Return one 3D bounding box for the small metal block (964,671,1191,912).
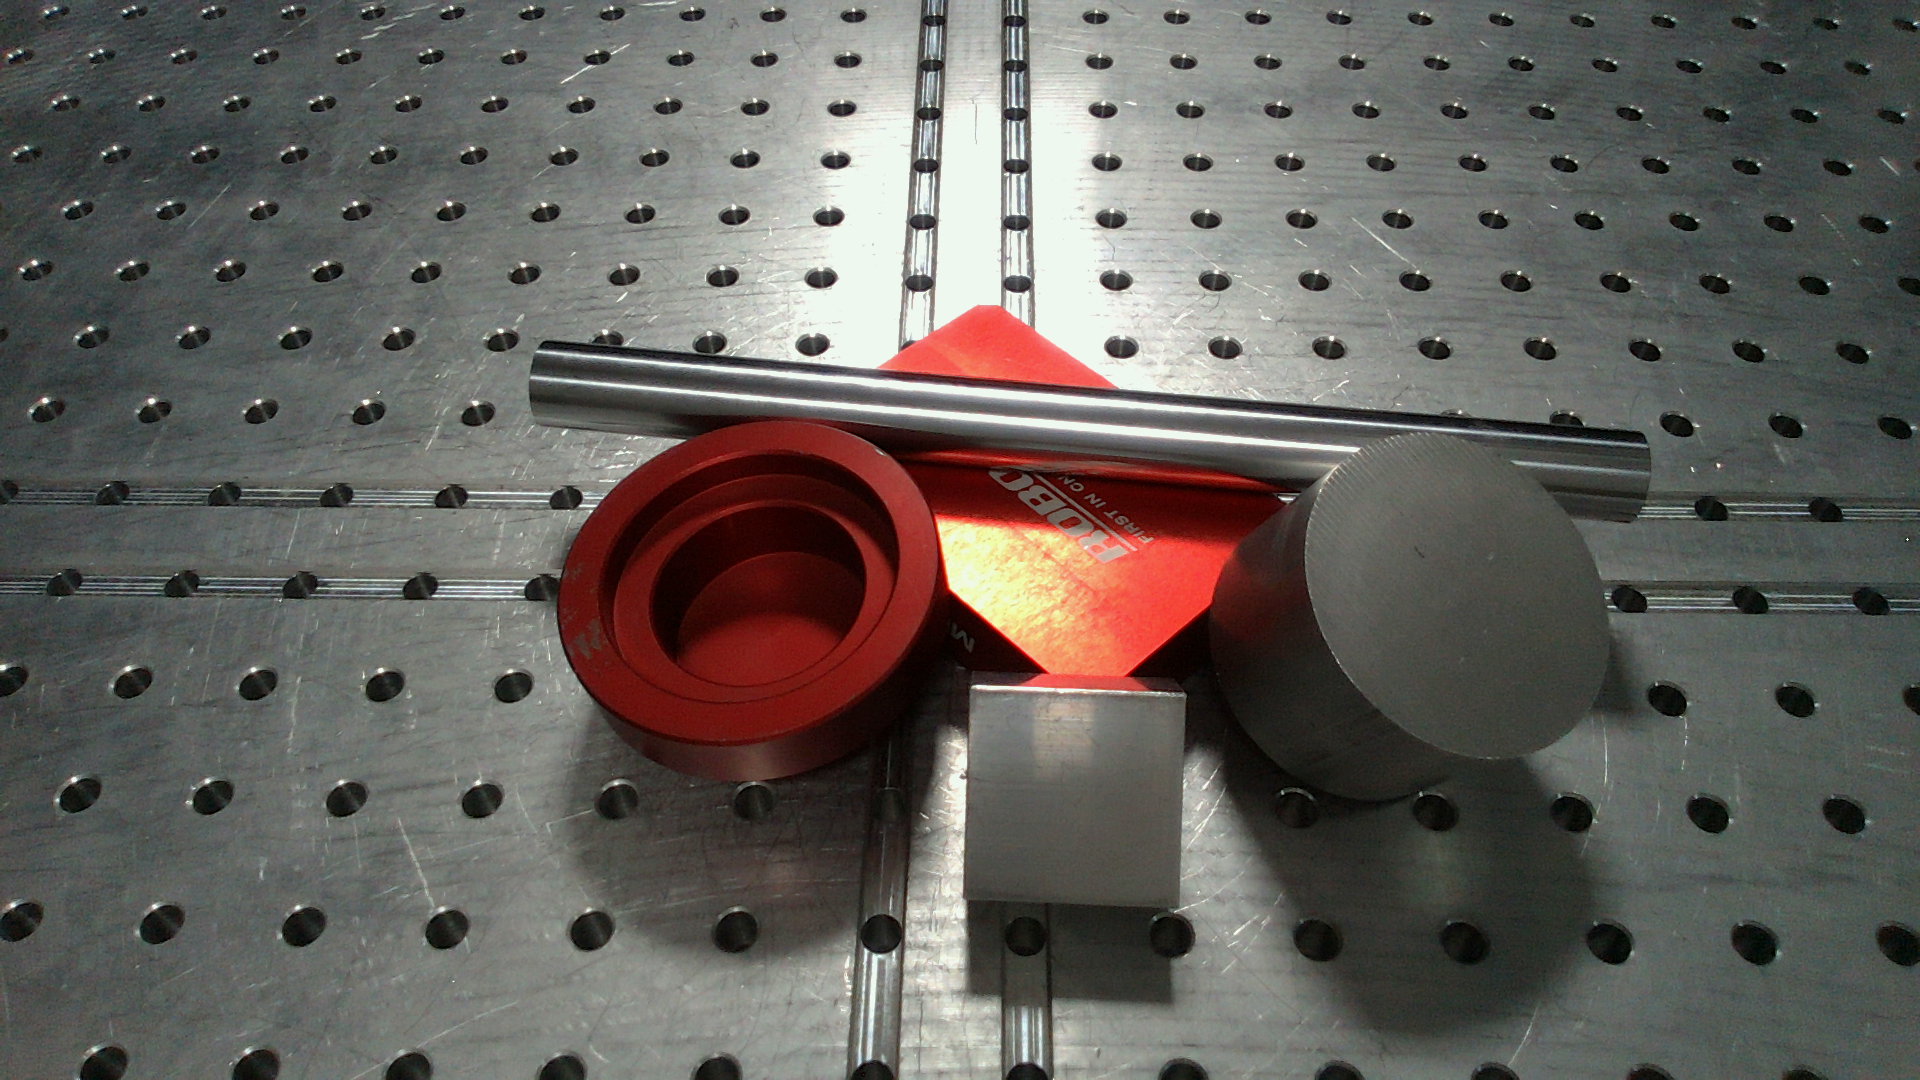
[{"bbox_3d":[0.027,0.059,0.327,0.050,0.025,0.050,2,93,1],"label":"small metal block"}]

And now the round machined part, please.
[{"bbox_3d":[-0.052,0.018,0.362,0.098,0.042,0.098,-3,56,4],"label":"round machined part"}]

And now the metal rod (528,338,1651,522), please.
[{"bbox_3d":[0.031,-0.031,0.380,0.300,0.025,0.025,5,50,4],"label":"metal rod"}]

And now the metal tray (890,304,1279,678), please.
[{"bbox_3d":[0.021,-0.009,0.400,0.090,0.030,0.130,-36,58,-26],"label":"metal tray"}]

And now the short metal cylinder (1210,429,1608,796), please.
[{"bbox_3d":[0.110,0.019,0.342,0.080,0.050,0.080,6,68,-15],"label":"short metal cylinder"}]
